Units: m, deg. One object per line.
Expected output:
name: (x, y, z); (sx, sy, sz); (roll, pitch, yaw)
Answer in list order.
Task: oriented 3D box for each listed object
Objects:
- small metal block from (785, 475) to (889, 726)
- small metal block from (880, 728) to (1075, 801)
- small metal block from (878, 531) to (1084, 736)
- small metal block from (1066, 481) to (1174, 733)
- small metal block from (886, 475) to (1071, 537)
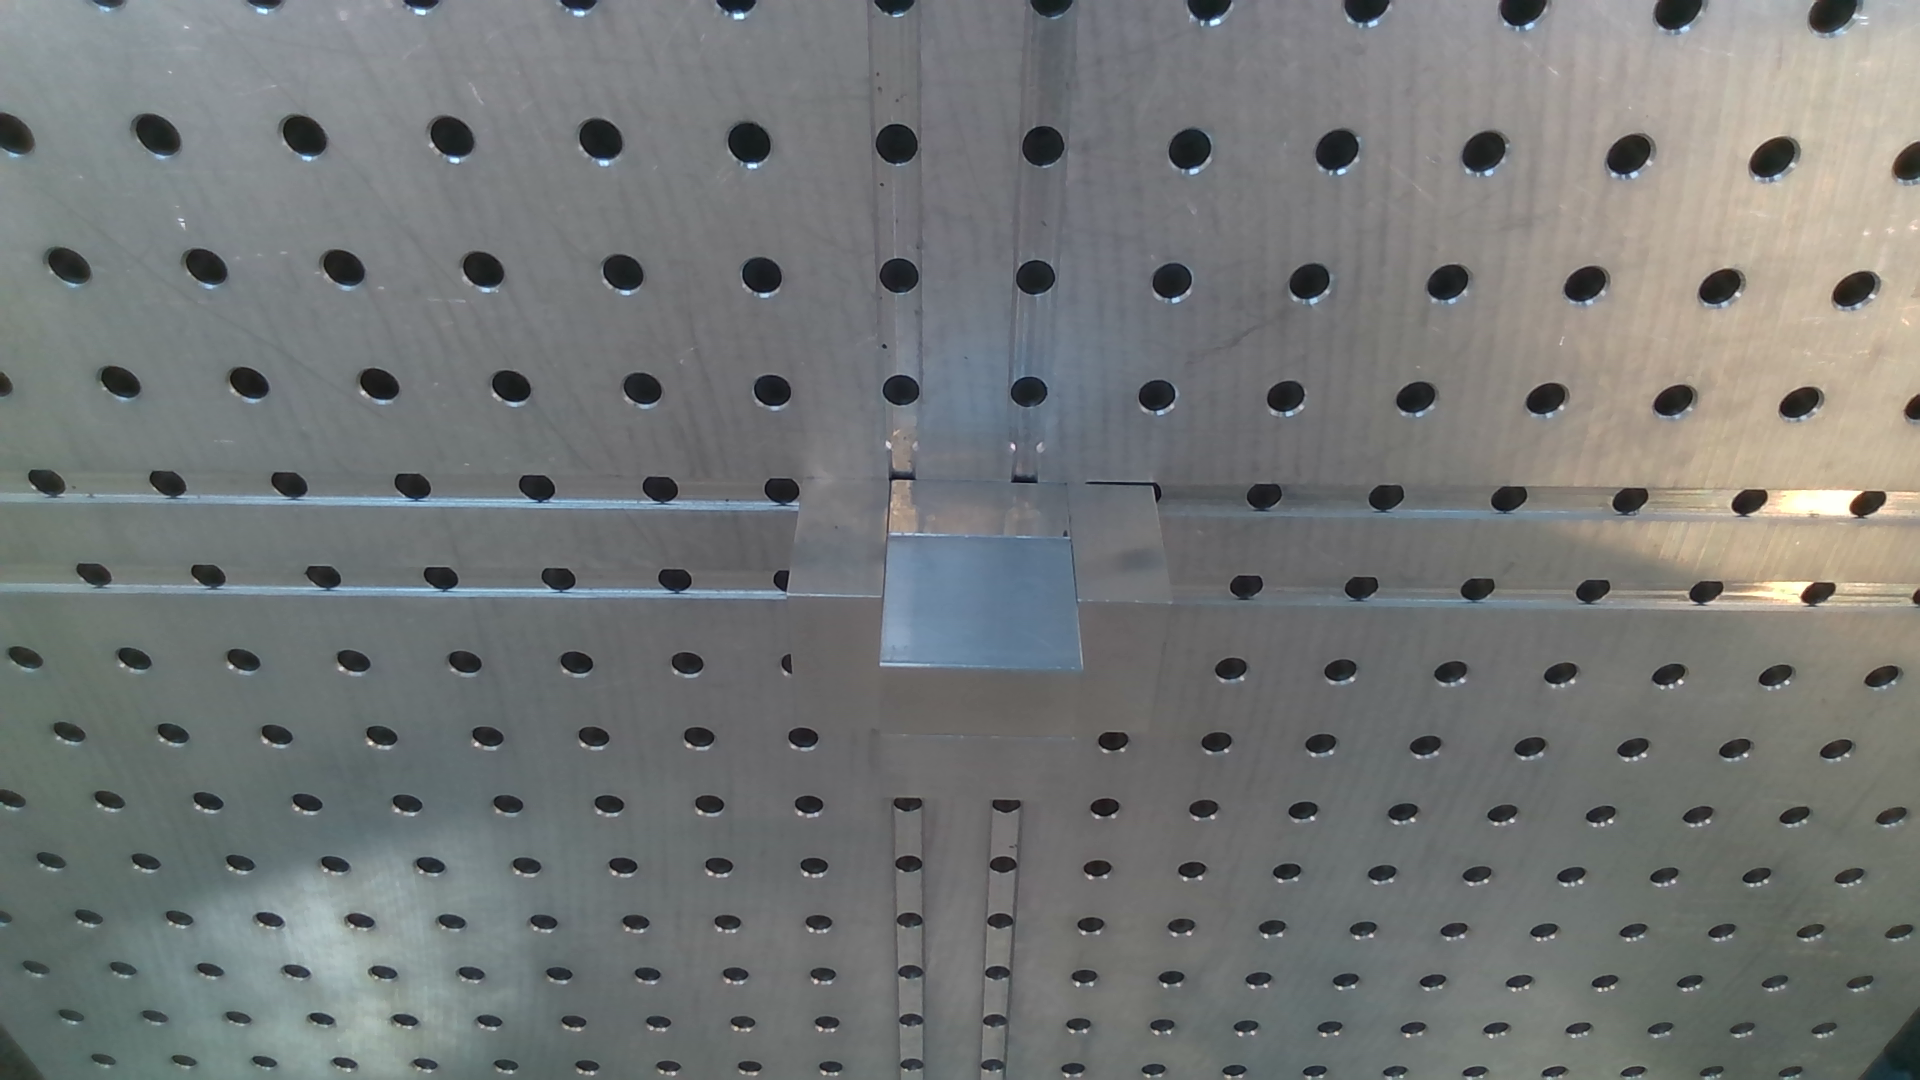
small metal block: (-0.033, 0.017, 0.388); (0.025, 0.050, 0.050); (1, 130, -1)
small metal block: (0.004, 0.044, 0.379); (0.050, 0.050, 0.025); (1, 129, -1)
small metal block: (0.005, 0.024, 0.362); (0.050, 0.050, 0.025); (1, 130, -1)
small metal block: (0.042, 0.019, 0.389); (0.025, 0.050, 0.050); (2, 130, -1)
small metal block: (0.004, 0.009, 0.398); (0.050, 0.025, 0.050); (1, 129, -1)
